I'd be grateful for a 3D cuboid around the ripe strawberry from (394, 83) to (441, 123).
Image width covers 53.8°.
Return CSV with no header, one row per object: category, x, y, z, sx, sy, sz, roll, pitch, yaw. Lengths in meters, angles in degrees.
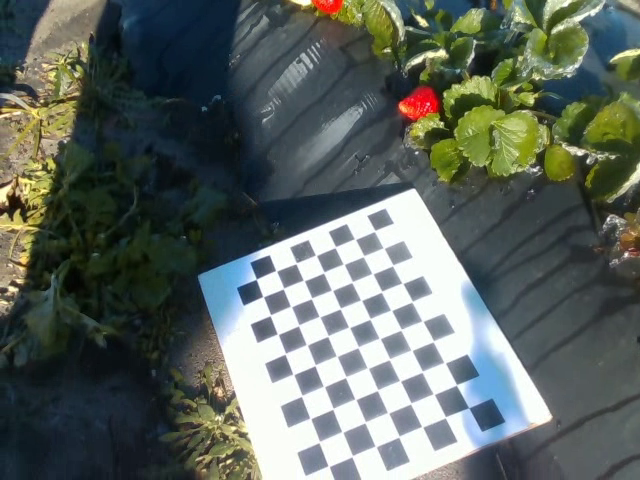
ripe strawberry,0.096,-0.133,0.612,0.052,0.041,0.047,-5,-39,-40
